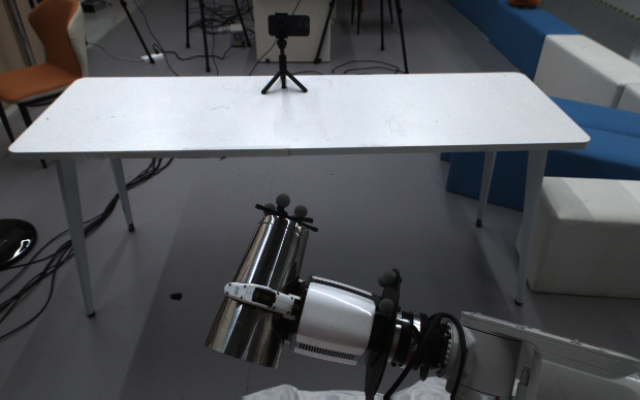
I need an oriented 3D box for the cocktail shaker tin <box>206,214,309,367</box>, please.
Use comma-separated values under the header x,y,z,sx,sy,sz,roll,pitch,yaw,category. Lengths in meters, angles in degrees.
x,y,z,sx,sy,sz,roll,pitch,yaw,category
-0.071,0.109,0.601,0.093,0.093,0.170,14,74,17,cocktail shaker tin
